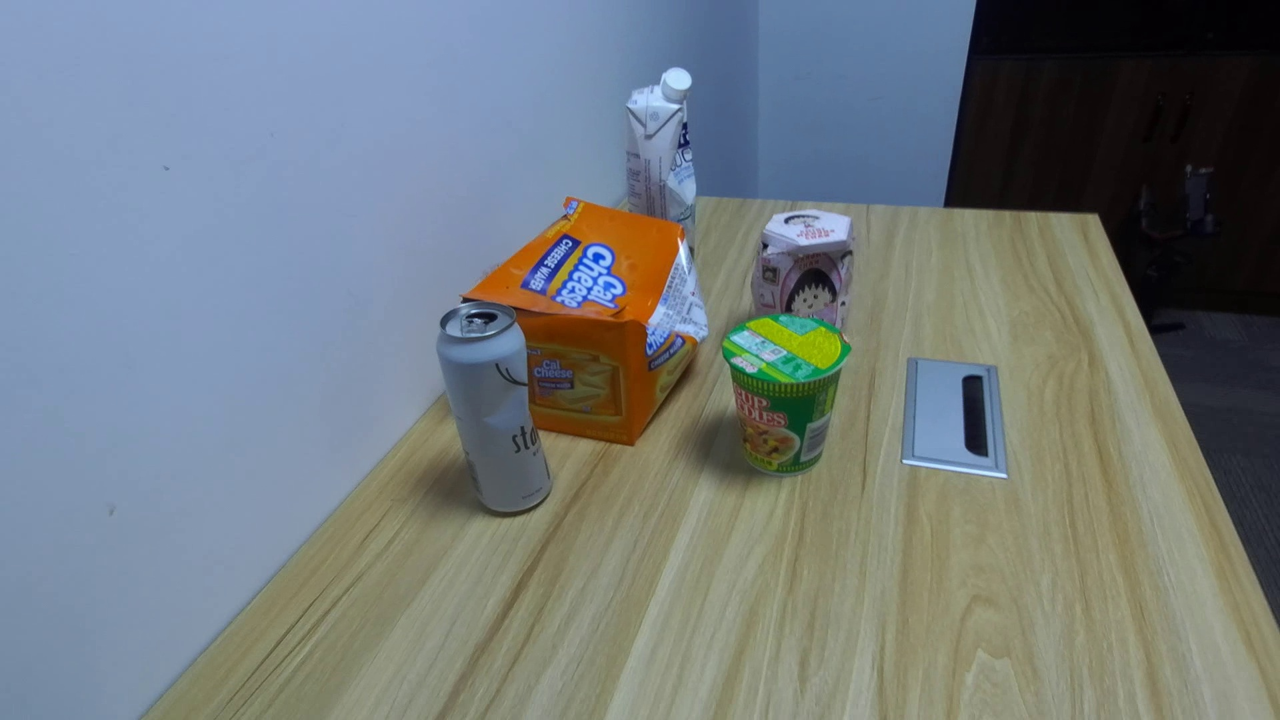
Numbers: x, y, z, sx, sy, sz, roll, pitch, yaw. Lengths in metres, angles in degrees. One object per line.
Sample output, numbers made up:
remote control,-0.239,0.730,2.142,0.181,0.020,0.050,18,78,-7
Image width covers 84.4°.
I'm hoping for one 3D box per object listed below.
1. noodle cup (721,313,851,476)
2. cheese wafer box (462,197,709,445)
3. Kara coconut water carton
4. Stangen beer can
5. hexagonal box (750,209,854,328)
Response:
noodle cup,0.118,0.034,0.574,0.097,0.110,0.097,-5,33,4
cheese wafer box,-0.028,-0.047,0.690,0.190,0.145,0.219,7,36,20
Kara coconut water carton,0.023,-0.193,0.797,0.078,0.256,0.083,10,35,21
Stangen beer can,-0.108,0.039,0.552,0.069,0.173,0.070,6,34,19
hexagonal box,0.162,-0.074,0.710,0.091,0.135,0.090,14,35,27
